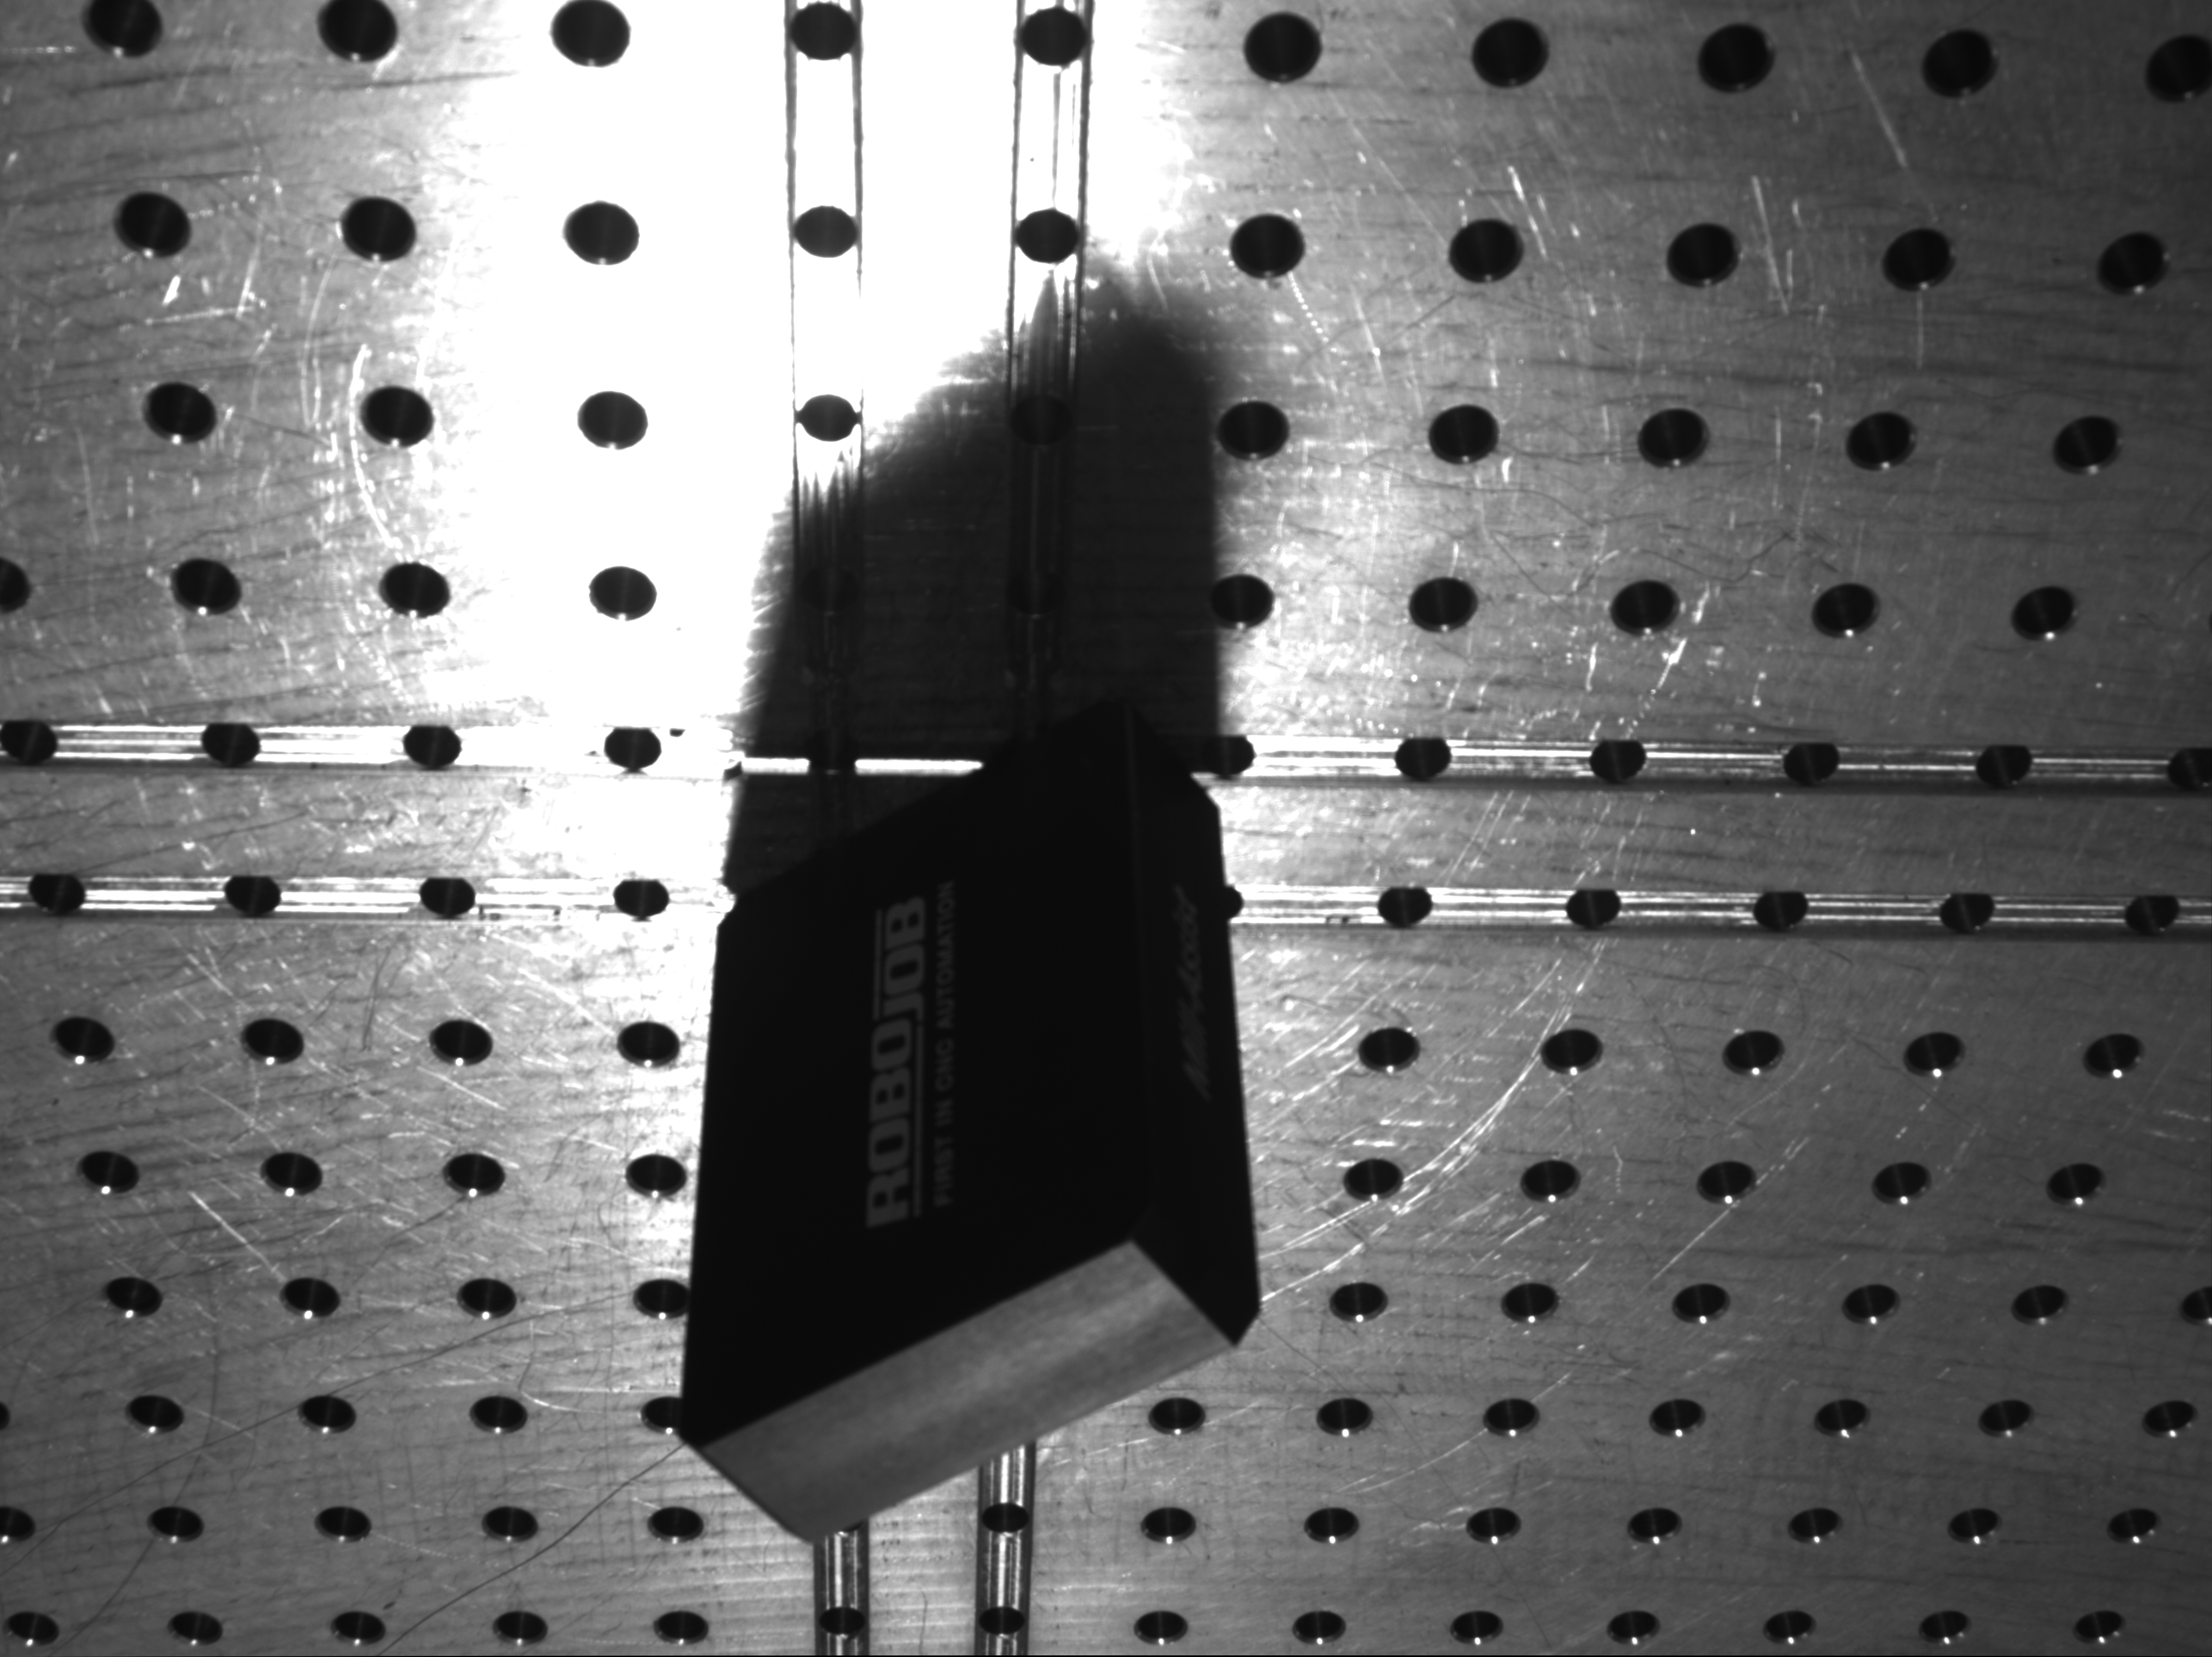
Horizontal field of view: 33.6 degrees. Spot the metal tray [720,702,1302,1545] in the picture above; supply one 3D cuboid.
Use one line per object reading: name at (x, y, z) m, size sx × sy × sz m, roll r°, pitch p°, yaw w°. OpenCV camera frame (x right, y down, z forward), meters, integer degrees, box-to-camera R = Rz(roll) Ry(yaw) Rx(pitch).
metal tray at (-0.017, 0.046, 0.611) m, size 0.090 × 0.130 × 0.030 m, roll -28°, pitch 125°, yaw 20°
